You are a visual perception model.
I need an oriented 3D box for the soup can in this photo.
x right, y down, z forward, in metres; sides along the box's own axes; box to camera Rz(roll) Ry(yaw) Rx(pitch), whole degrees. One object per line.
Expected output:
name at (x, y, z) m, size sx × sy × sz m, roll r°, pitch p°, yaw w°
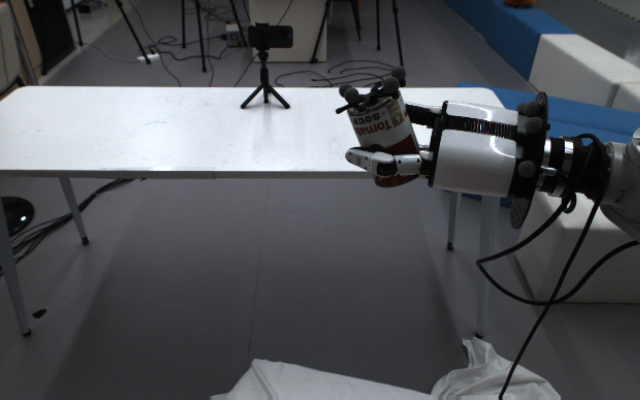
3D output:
soup can at (0.084, -0.076, 0.589) m, size 0.067 × 0.101 × 0.067 m, roll -22°, pitch 24°, yaw 10°
